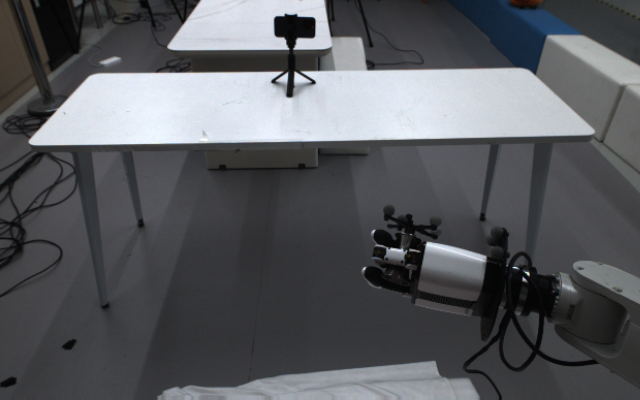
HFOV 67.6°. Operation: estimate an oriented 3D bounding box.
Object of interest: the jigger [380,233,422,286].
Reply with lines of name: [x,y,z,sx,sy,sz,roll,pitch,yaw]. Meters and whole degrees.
jigger: [0.123,0.085,0.706,0.043,0.043,0.071,13,69,15]
